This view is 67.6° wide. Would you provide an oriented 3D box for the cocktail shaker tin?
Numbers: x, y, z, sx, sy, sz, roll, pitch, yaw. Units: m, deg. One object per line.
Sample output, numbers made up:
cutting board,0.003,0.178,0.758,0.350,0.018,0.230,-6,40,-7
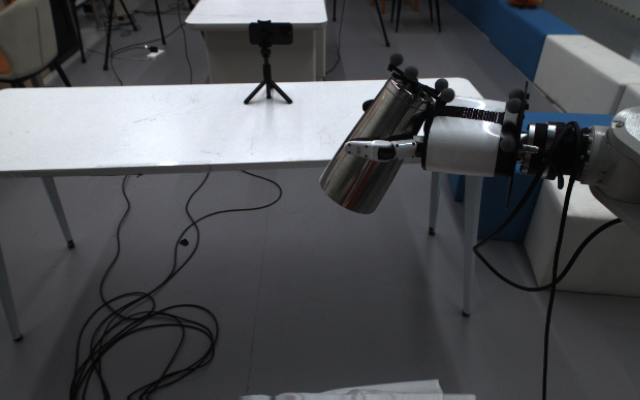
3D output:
cocktail shaker tin,0.080,-0.080,0.652,0.093,0.170,0.093,25,29,-15
